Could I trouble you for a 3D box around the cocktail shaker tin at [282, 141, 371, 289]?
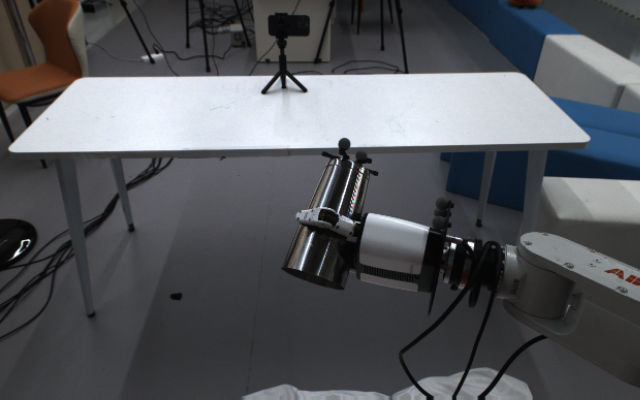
[{"bbox_3d":[0.015,0.032,0.684,0.093,0.093,0.170,14,73,17],"label":"cocktail shaker tin"}]
